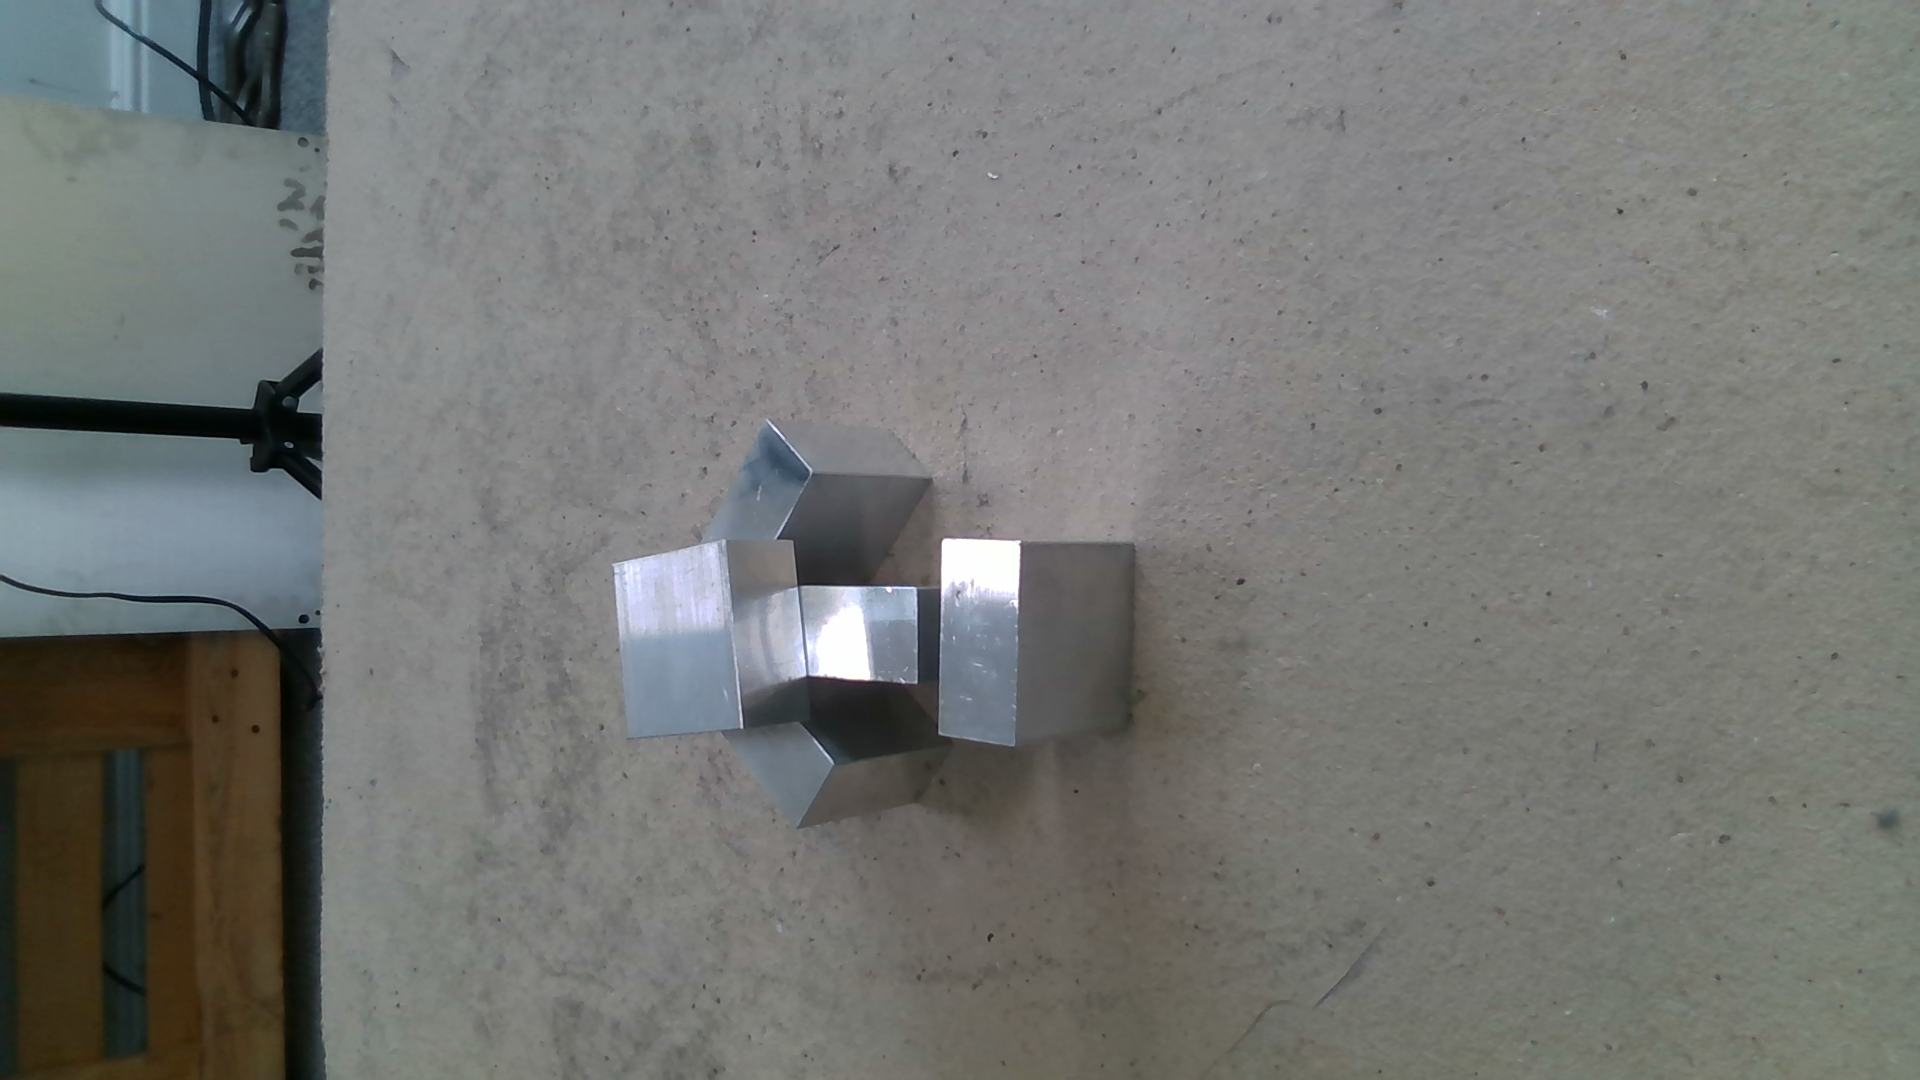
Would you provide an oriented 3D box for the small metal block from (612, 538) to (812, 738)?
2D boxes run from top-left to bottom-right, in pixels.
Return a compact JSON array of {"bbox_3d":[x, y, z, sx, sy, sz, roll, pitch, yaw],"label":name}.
[{"bbox_3d":[-0.070,0.028,0.386,0.050,0.025,0.050,-10,83,39],"label":"small metal block"}]

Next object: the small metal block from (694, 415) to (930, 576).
[{"bbox_3d":[-0.045,-0.009,0.411,0.025,0.050,0.050,47,120,29],"label":"small metal block"}]

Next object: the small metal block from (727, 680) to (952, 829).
[{"bbox_3d":[-0.039,0.055,0.408,0.050,0.050,0.025,45,117,31],"label":"small metal block"}]

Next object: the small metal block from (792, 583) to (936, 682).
[{"bbox_3d":[-0.014,0.024,0.387,0.050,0.050,0.025,-1,90,40],"label":"small metal block"}]

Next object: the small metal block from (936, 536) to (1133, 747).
[{"bbox_3d":[0.020,0.024,0.357,0.025,0.050,0.050,2,92,40],"label":"small metal block"}]
